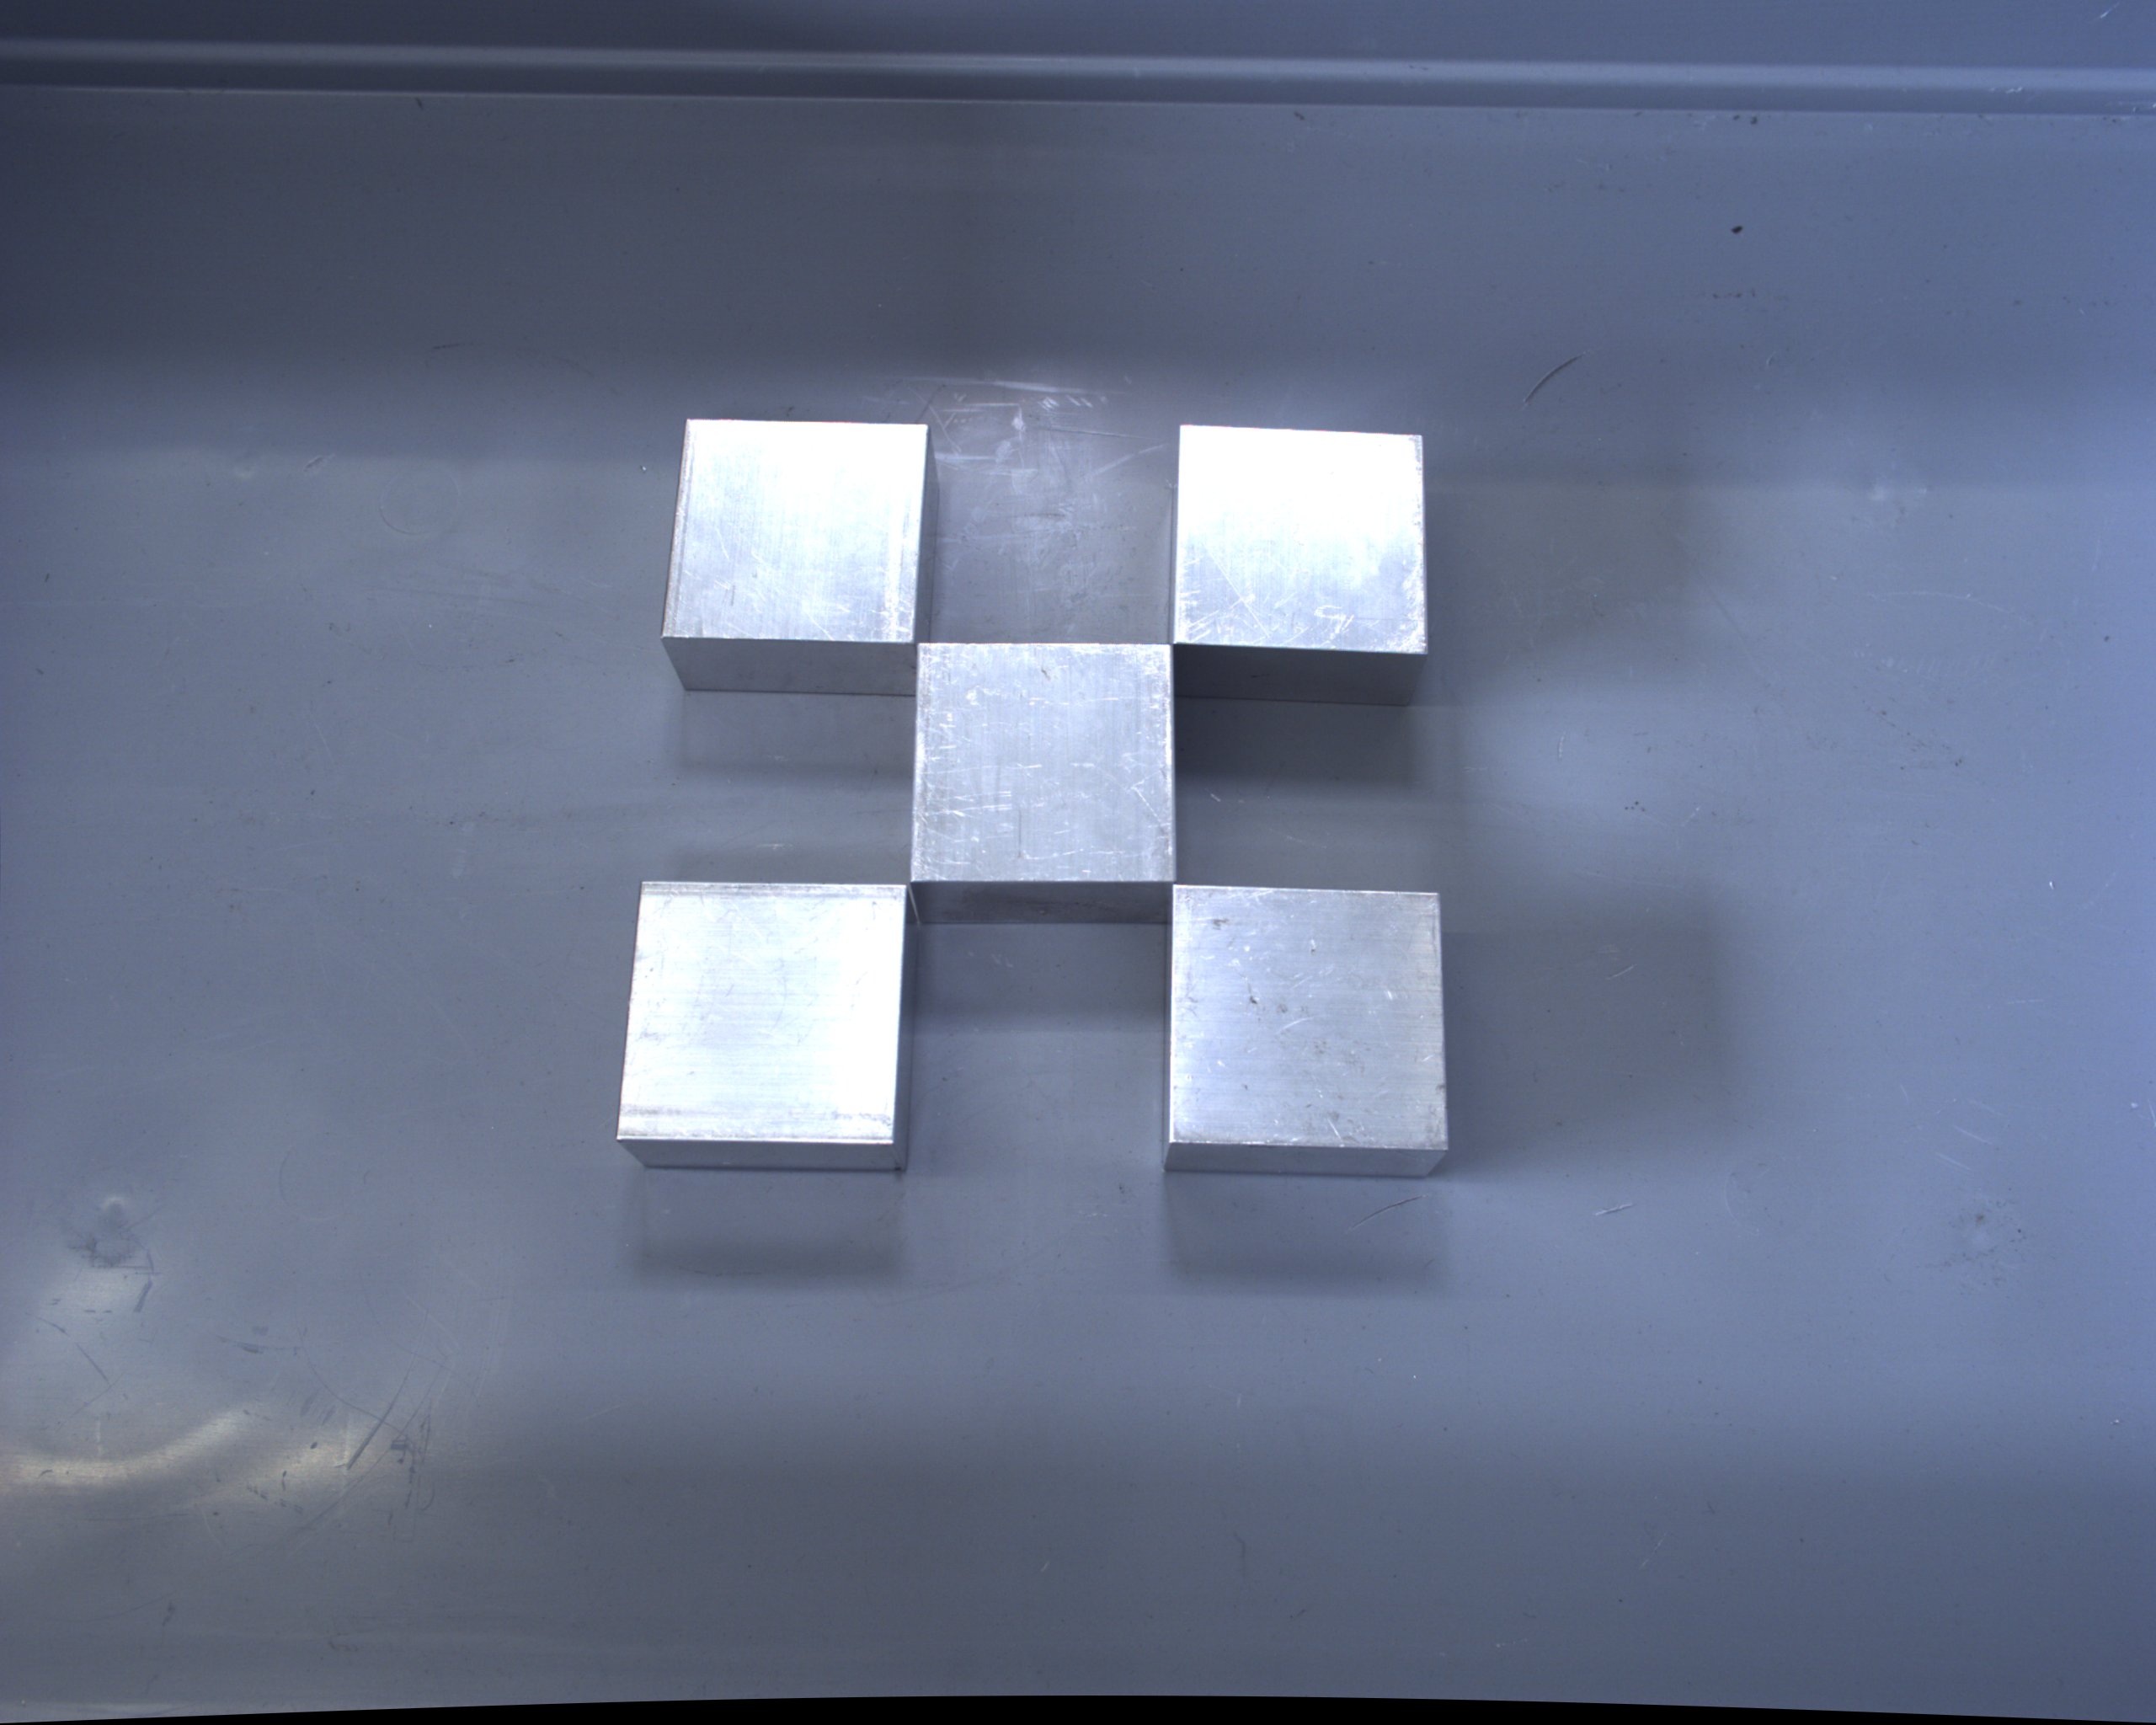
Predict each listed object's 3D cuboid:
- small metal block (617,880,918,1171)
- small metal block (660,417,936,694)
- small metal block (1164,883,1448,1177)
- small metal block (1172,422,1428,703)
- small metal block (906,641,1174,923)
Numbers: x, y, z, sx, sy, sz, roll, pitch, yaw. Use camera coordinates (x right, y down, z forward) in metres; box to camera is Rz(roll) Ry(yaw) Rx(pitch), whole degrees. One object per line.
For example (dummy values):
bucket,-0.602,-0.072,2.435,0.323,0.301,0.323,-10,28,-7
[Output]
small metal block,-0.057,0.031,0.396,0.050,0.025,0.050,1,70,0
small metal block,-0.056,-0.063,0.430,0.050,0.025,0.050,2,70,0
small metal block,0.042,0.032,0.396,0.050,0.025,0.050,1,70,0
small metal block,0.045,-0.062,0.430,0.050,0.025,0.050,2,70,1
small metal block,-0.007,-0.016,0.413,0.050,0.025,0.050,1,70,0
